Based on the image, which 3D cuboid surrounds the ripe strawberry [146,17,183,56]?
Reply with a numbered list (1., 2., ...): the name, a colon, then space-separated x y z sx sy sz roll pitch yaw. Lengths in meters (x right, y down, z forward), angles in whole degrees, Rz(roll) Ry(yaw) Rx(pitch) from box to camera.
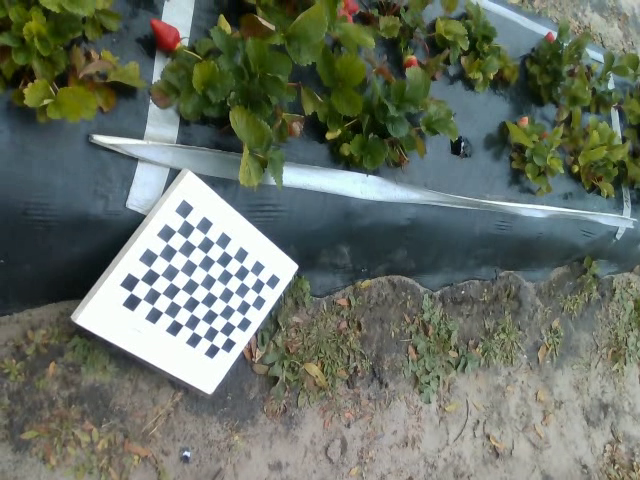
1. ripe strawberry: -0.212 -0.282 0.792 0.037 0.042 0.051 29 -7 47
